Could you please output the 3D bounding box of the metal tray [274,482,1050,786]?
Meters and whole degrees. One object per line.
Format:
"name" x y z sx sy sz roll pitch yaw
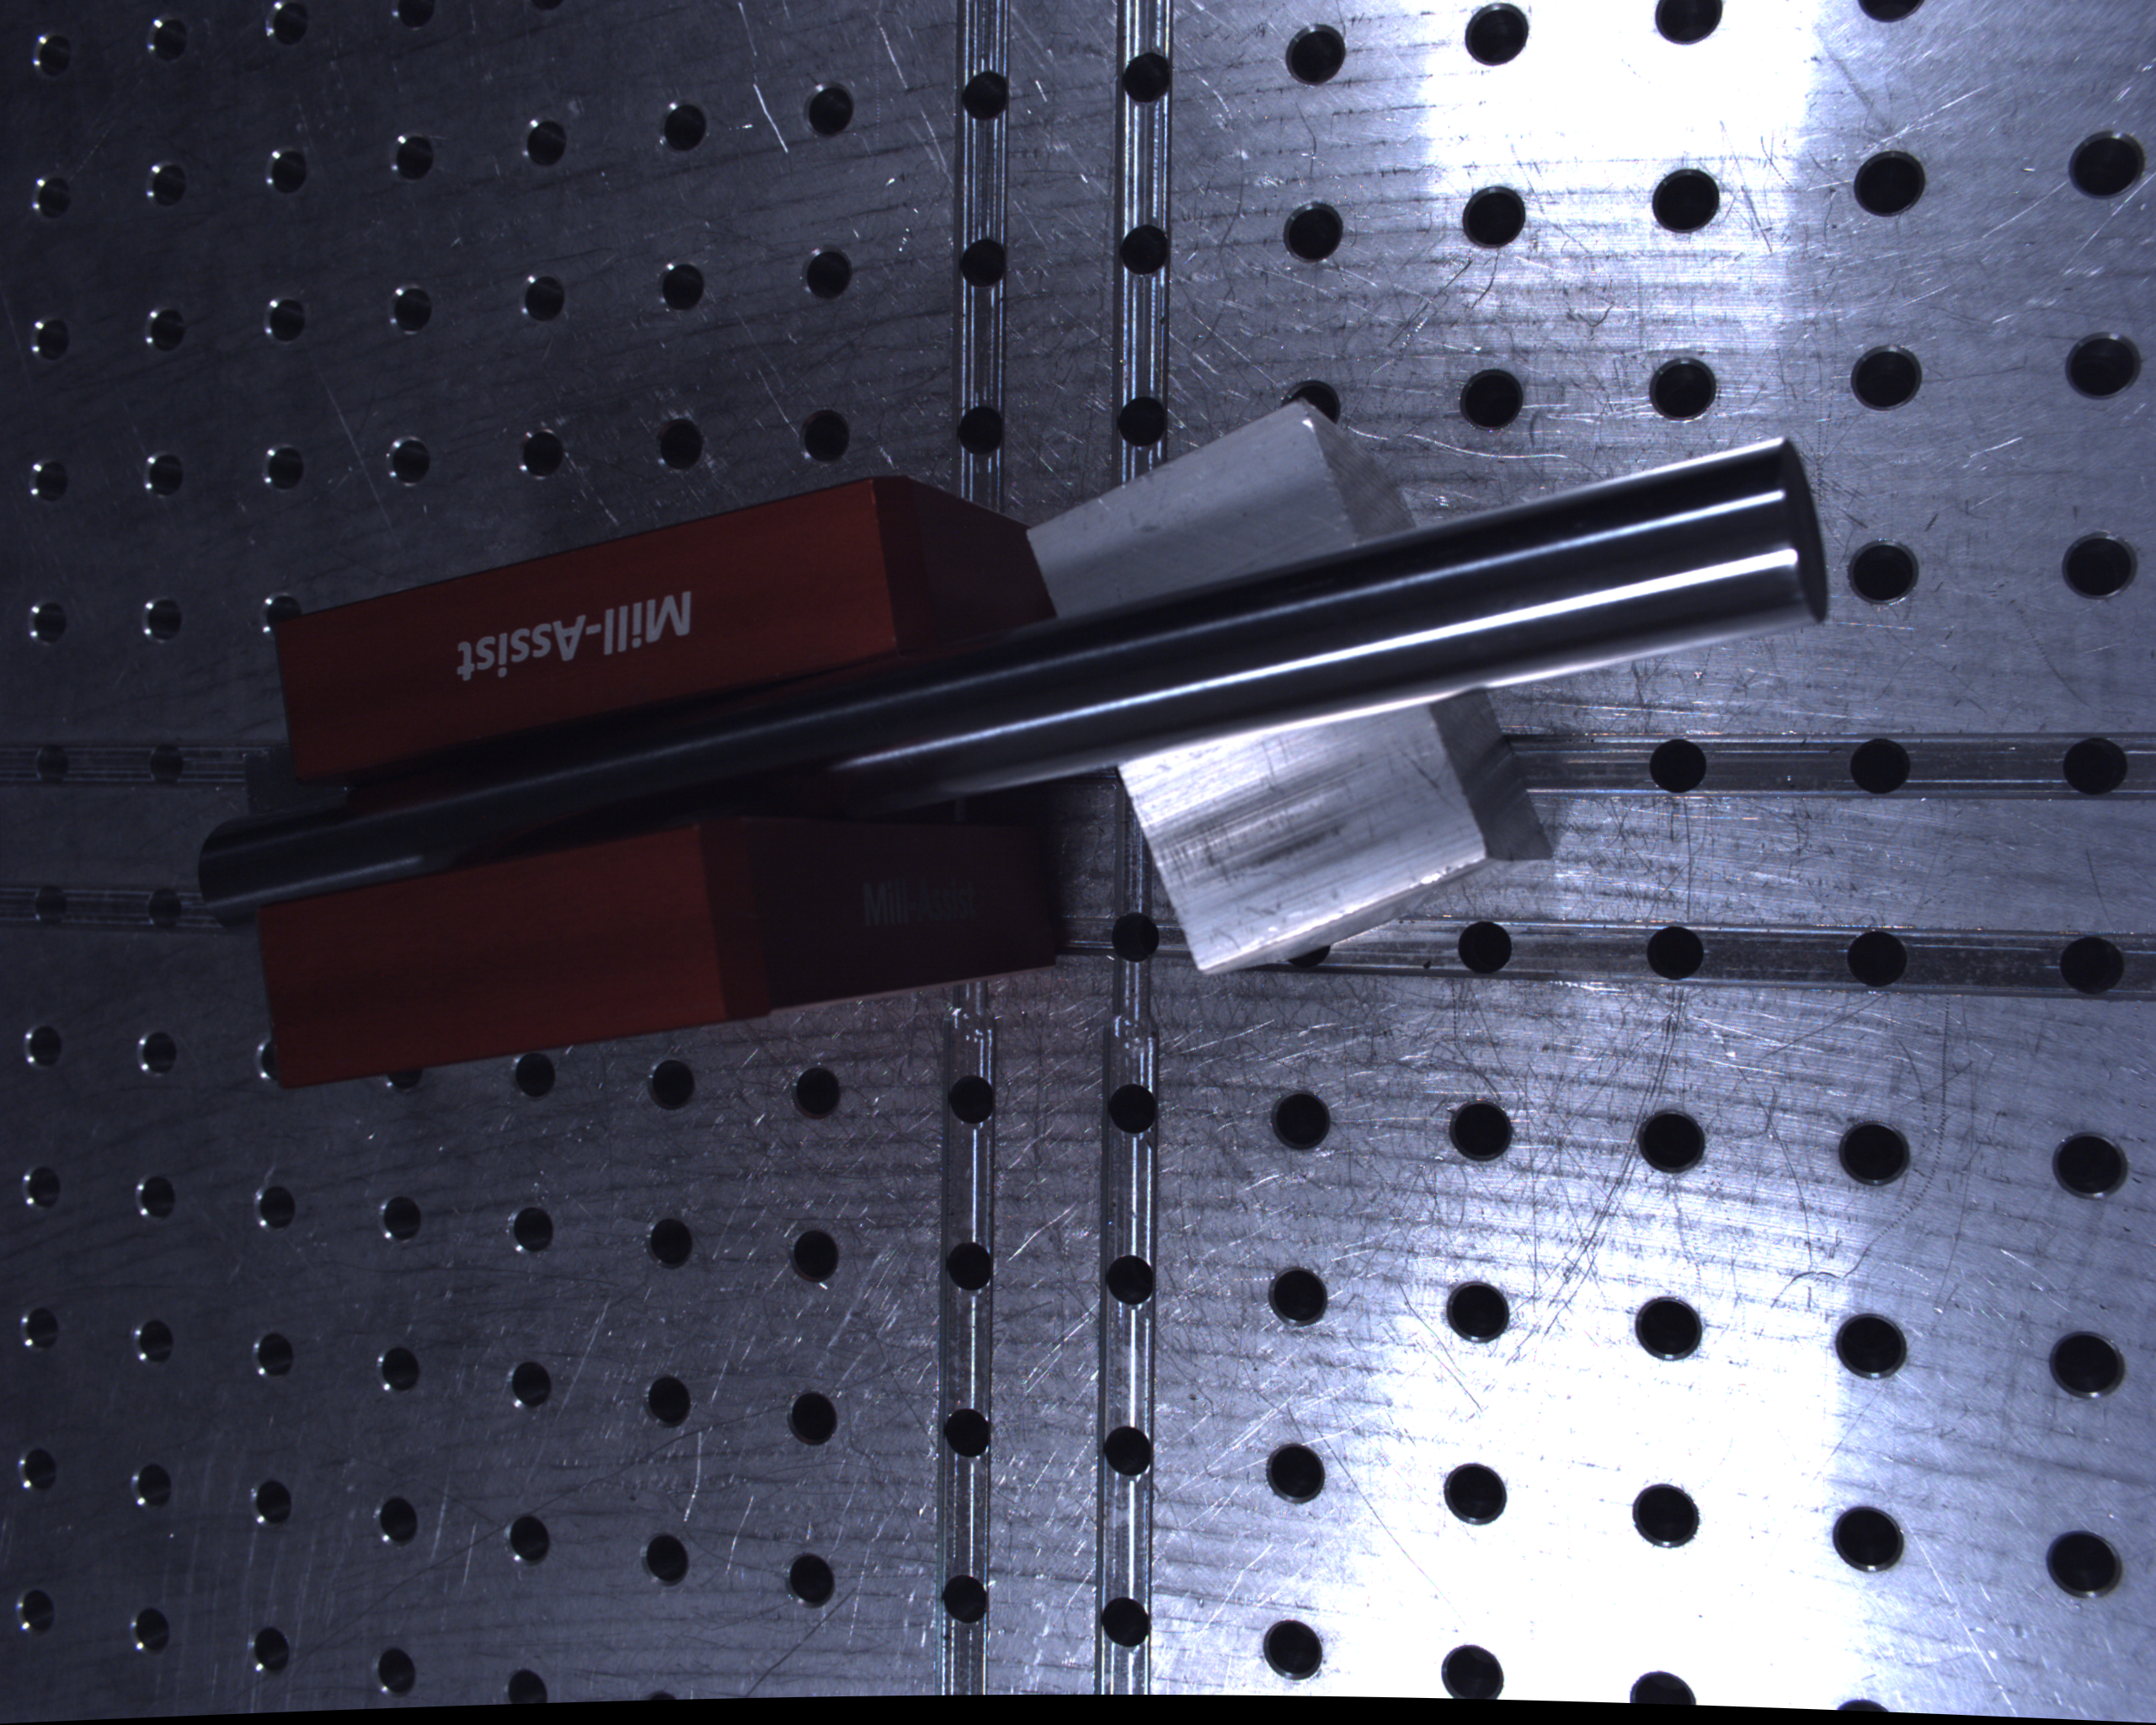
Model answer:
"metal tray" -0.072 -0.039 0.401 0.130 0.090 0.030 -9 88 19

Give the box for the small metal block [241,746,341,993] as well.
"small metal block" -0.150 0.000 0.450 0.025 0.050 0.050 -9 87 19

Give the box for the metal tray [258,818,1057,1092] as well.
"metal tray" -0.069 0.015 0.380 0.090 0.130 0.030 -10 87 19

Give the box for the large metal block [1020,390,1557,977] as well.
"large metal block" 0.040 -0.028 0.367 0.050 0.080 0.080 -24 82 18

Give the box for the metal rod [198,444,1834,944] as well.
"metal rod" -0.034 -0.019 0.343 0.300 0.025 0.025 -10 87 28
